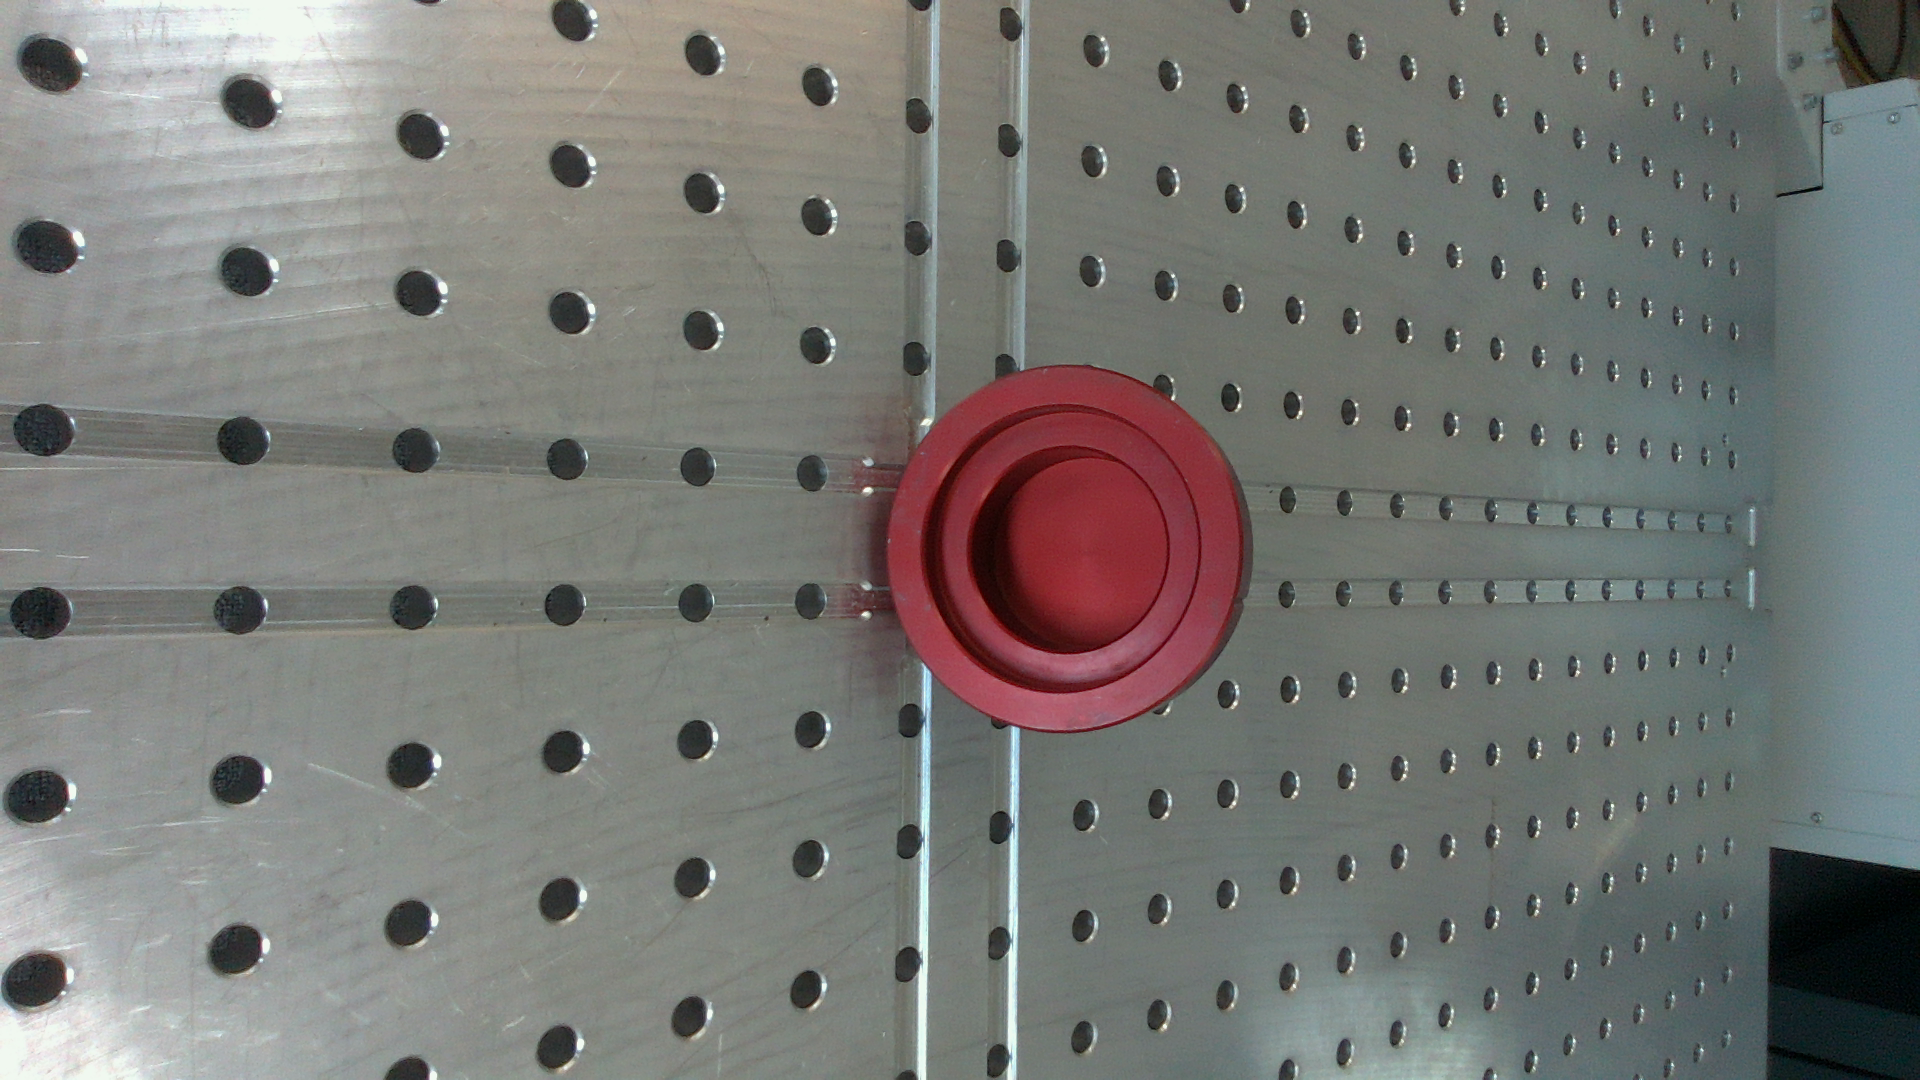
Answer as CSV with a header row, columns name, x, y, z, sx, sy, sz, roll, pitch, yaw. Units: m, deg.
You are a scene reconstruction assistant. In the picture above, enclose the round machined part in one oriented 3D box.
name,x,y,z,sx,sy,sz,roll,pitch,yaw
round machined part,0.032,0.003,0.383,0.042,0.098,0.098,8,84,-71
